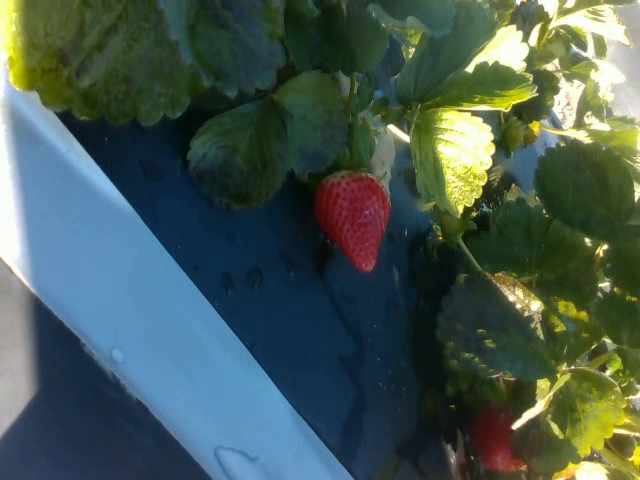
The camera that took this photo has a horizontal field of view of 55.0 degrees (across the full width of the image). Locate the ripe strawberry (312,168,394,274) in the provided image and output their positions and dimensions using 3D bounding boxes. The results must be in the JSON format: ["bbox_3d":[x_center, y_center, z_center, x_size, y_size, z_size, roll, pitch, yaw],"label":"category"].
[{"bbox_3d":[0.018,-0.009,0.291,0.045,0.059,0.042,-1,-13,-8],"label":"ripe strawberry"}]
